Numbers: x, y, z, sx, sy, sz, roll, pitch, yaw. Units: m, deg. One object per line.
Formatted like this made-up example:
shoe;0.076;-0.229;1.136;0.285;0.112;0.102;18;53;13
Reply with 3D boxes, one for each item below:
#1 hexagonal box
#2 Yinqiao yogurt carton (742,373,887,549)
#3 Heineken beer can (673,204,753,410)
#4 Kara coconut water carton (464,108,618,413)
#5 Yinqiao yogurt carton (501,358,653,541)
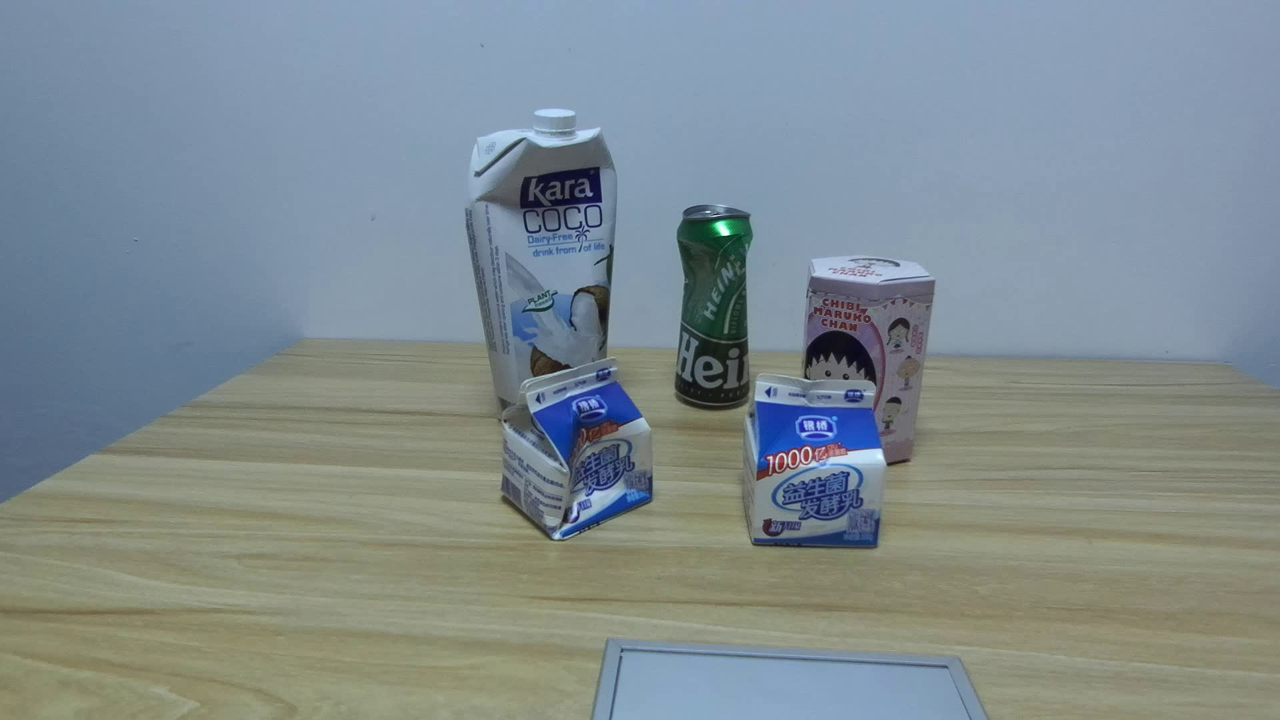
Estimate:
hexagonal box;0.157;0.000;0.507;0.091;0.136;0.084;13;23;35
Yinqiao yogurt carton;0.102;0.052;0.421;0.075;0.092;0.073;2;19;2
Heineken beer can;0.062;-0.043;0.591;0.066;0.164;0.078;4;19;17
Kara coconut water carton;-0.071;-0.064;0.536;0.115;0.238;0.069;-16;26;-39
Yinqiao yogurt carton;-0.042;0.048;0.438;0.078;0.094;0.070;-17;29;-37
